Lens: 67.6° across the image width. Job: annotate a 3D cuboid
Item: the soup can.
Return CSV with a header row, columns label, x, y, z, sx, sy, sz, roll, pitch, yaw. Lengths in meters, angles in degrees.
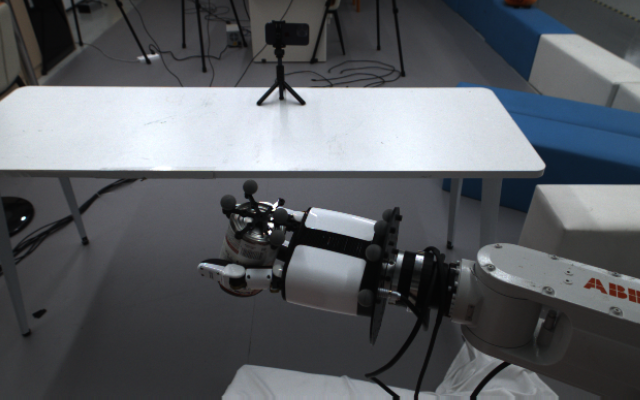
label,x,y,z,sx,sy,sz,roll,pitch,yaw
soup can,-0.083,0.061,0.584,0.067,0.101,0.067,14,40,-12
